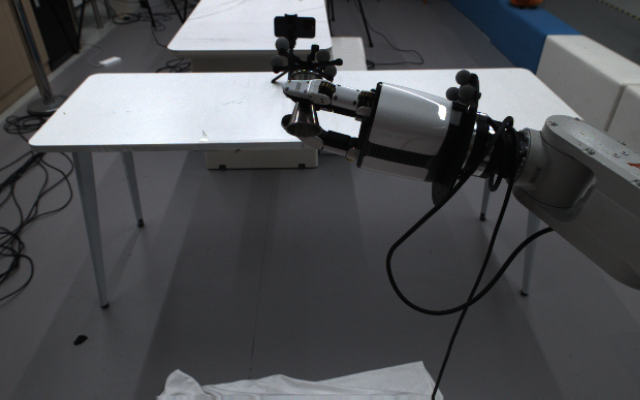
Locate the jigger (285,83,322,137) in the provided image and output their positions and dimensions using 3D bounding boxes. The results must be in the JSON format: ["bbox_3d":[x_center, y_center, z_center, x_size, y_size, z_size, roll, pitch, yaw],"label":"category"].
[{"bbox_3d":[-0.019,-0.115,0.578,0.043,0.043,0.071,3,76,1],"label":"jigger"}]
